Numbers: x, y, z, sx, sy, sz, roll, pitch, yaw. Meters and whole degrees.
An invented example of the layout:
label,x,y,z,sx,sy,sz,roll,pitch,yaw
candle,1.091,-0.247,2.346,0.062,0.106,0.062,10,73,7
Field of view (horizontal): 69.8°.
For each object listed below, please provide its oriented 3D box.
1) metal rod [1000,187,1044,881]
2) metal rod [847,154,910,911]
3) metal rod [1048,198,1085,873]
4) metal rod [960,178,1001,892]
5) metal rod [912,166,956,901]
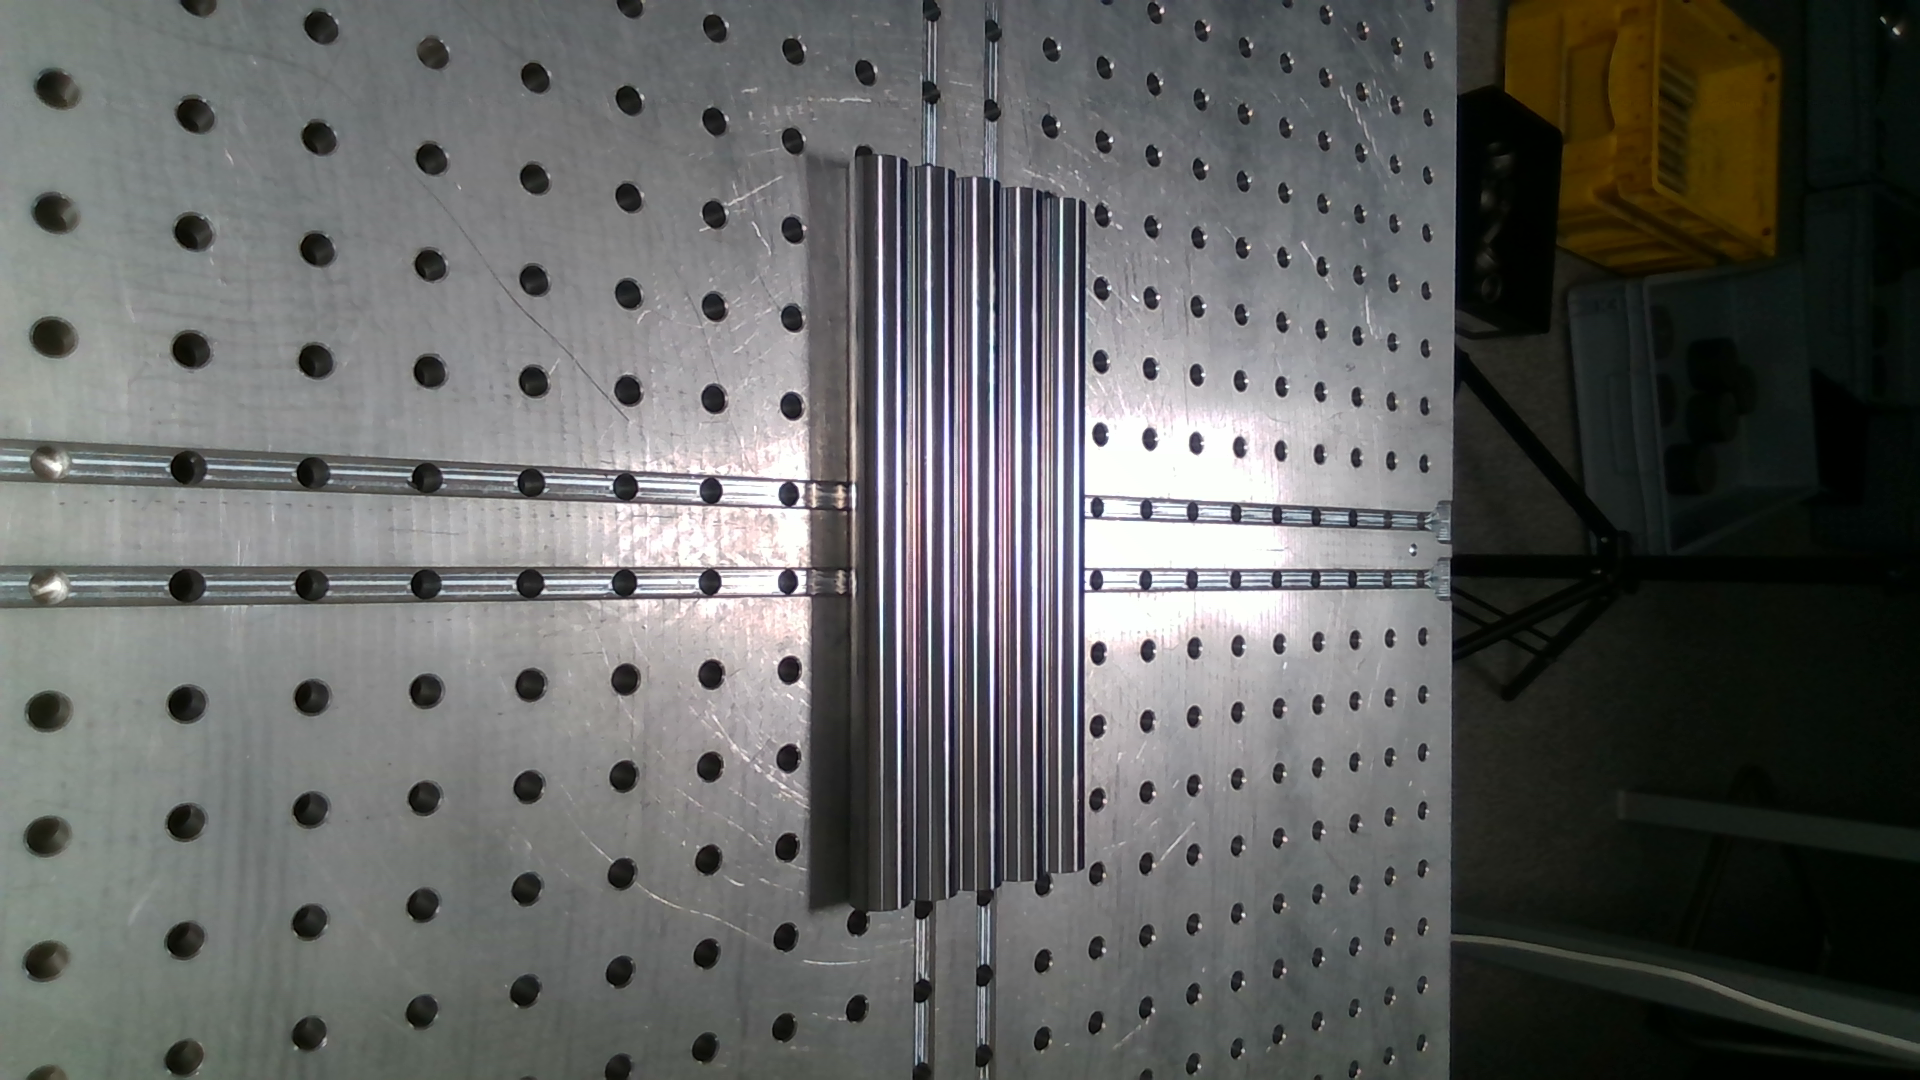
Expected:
label,x,y,z,sx,sy,sz,roll,pitch,yaw
metal rod,0.024,-0.002,0.607,0.025,0.025,0.300,0,90,-40
metal rod,-0.033,-0.003,0.558,0.025,0.025,0.300,0,90,-40
metal rod,0.044,-0.002,0.623,0.025,0.025,0.300,0,90,-40
metal rod,0.005,-0.002,0.590,0.025,0.025,0.300,0,90,-40
metal rod,-0.014,-0.003,0.574,0.025,0.025,0.300,0,90,-40
